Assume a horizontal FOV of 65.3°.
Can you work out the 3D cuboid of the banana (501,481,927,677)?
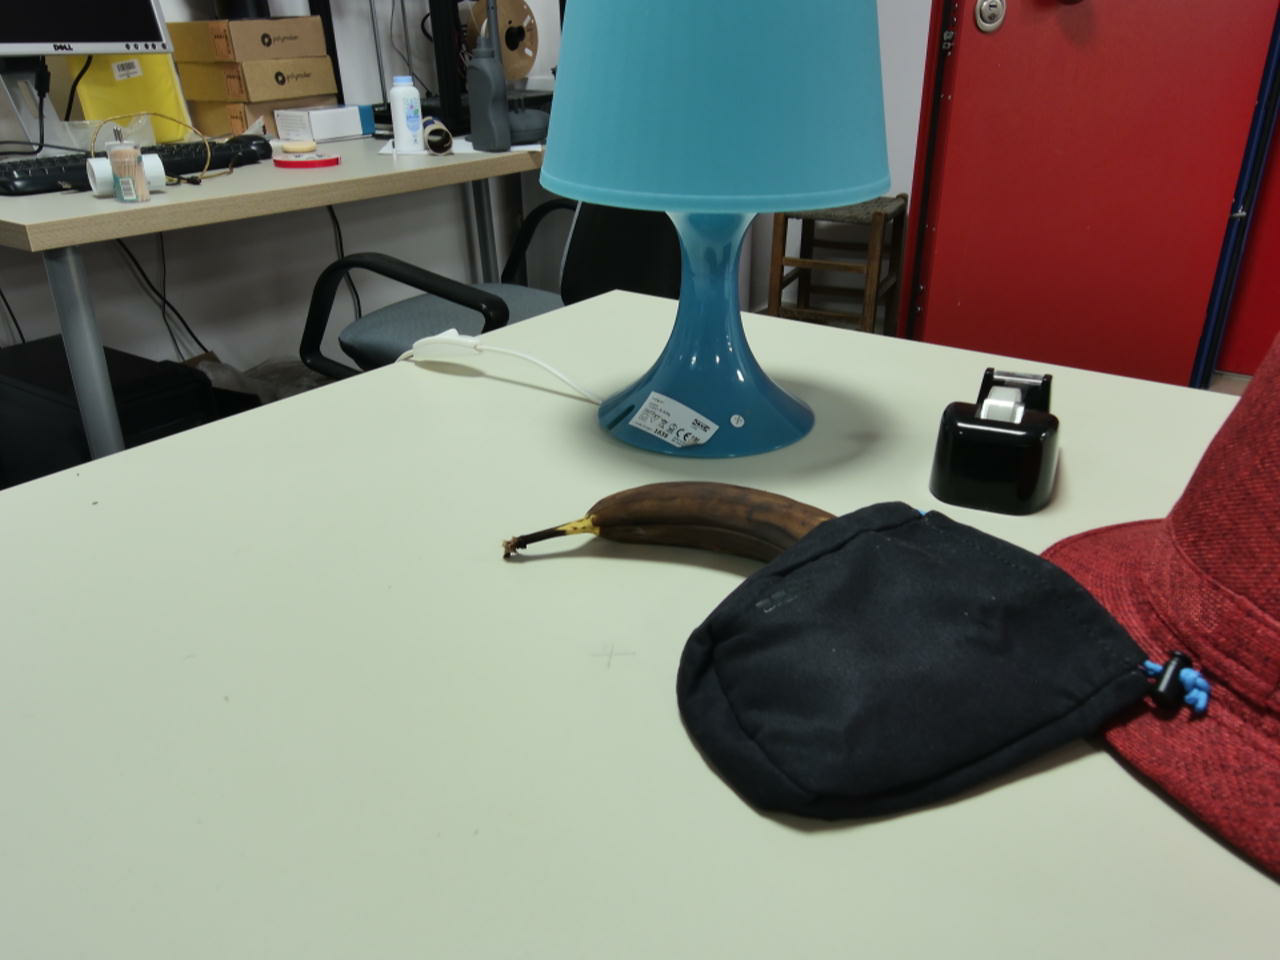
[{"bbox_3d":[0.039,0.029,0.424,0.188,0.034,0.091,18,29,37],"label":"banana"}]
